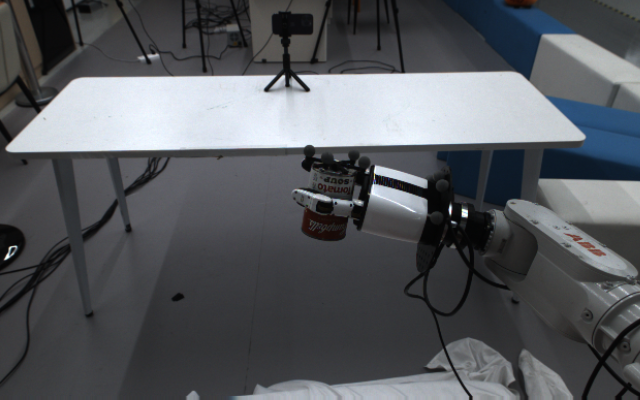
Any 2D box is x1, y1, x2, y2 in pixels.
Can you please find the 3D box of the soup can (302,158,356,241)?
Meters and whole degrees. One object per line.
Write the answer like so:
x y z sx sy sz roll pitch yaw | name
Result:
0.013 0.000 0.702 0.067 0.101 0.067 9 19 -3 | soup can
